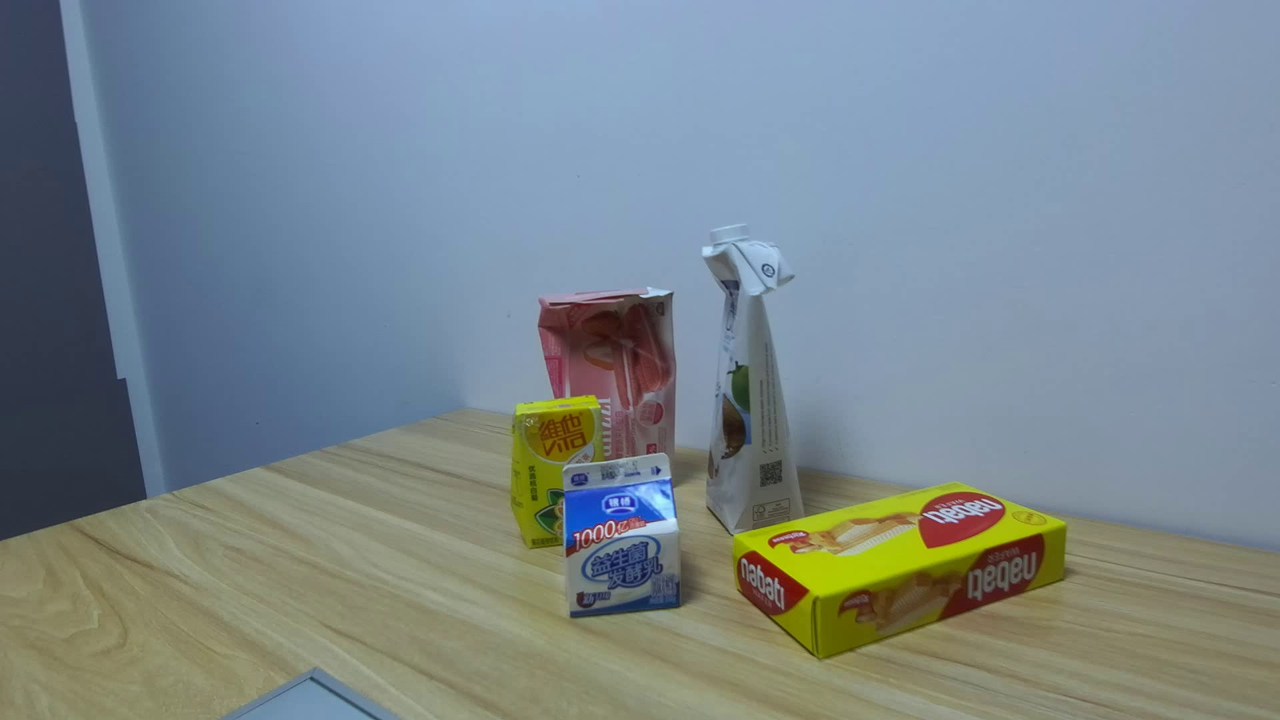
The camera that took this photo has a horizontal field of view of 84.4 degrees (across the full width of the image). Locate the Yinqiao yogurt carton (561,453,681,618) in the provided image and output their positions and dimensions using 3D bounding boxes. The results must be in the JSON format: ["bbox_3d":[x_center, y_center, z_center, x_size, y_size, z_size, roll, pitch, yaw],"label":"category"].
[{"bbox_3d":[-0.014,0.108,0.470,0.076,0.092,0.073,-5,13,-4],"label":"Yinqiao yogurt carton"}]

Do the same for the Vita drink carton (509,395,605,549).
[{"bbox_3d":[-0.064,0.087,0.554,0.076,0.109,0.043,-4,11,-9],"label":"Vita drink carton"}]

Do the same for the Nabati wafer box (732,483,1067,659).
[{"bbox_3d":[0.171,0.129,0.467,0.203,0.042,0.092,-7,11,-22],"label":"Nabati wafer box"}]

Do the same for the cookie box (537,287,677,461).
[{"bbox_3d":[-0.027,0.031,0.639,0.119,0.184,0.055,-5,11,-8],"label":"cookie box"}]

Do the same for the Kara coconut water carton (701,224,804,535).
[{"bbox_3d":[0.087,0.013,0.563,0.069,0.238,0.115,-6,11,-11],"label":"Kara coconut water carton"}]
